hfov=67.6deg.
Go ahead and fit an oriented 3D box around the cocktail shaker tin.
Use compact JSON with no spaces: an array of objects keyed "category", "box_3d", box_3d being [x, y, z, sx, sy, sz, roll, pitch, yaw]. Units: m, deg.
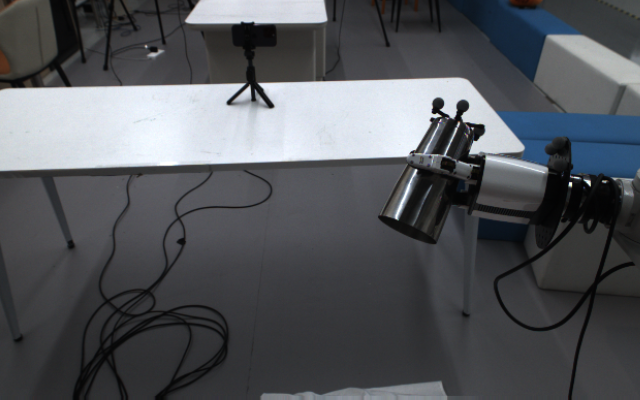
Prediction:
[{"category":"cocktail shaker tin","box_3d":[0.164,-0.035,0.708,0.093,0.093,0.170,21,81,25]}]
